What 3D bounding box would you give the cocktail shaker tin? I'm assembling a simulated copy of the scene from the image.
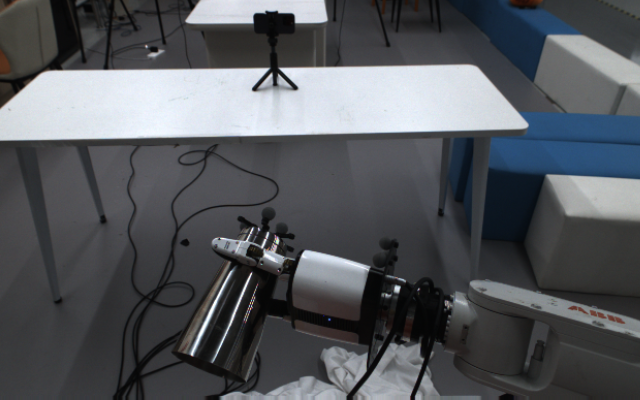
[{"bbox_3d":[-0.100,0.122,0.591,0.093,0.093,0.170,13,60,15],"label":"cocktail shaker tin"}]
